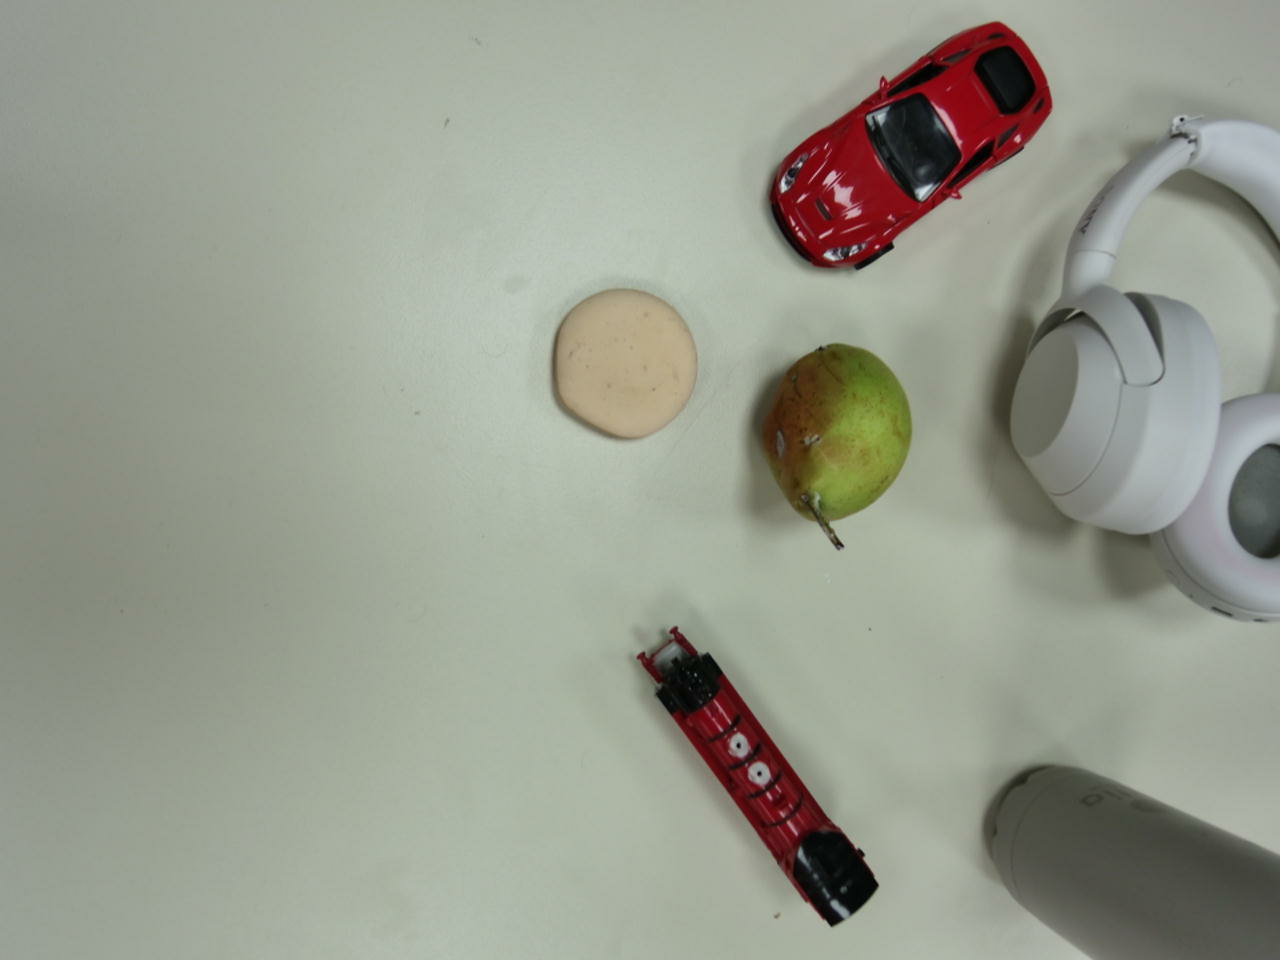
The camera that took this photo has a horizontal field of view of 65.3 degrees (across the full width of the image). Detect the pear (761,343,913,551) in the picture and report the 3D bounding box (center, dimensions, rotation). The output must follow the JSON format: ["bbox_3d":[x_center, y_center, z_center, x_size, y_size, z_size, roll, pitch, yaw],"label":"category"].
[{"bbox_3d":[0.081,-0.020,0.417,0.070,0.069,0.068,-30,96,-10],"label":"pear"}]
